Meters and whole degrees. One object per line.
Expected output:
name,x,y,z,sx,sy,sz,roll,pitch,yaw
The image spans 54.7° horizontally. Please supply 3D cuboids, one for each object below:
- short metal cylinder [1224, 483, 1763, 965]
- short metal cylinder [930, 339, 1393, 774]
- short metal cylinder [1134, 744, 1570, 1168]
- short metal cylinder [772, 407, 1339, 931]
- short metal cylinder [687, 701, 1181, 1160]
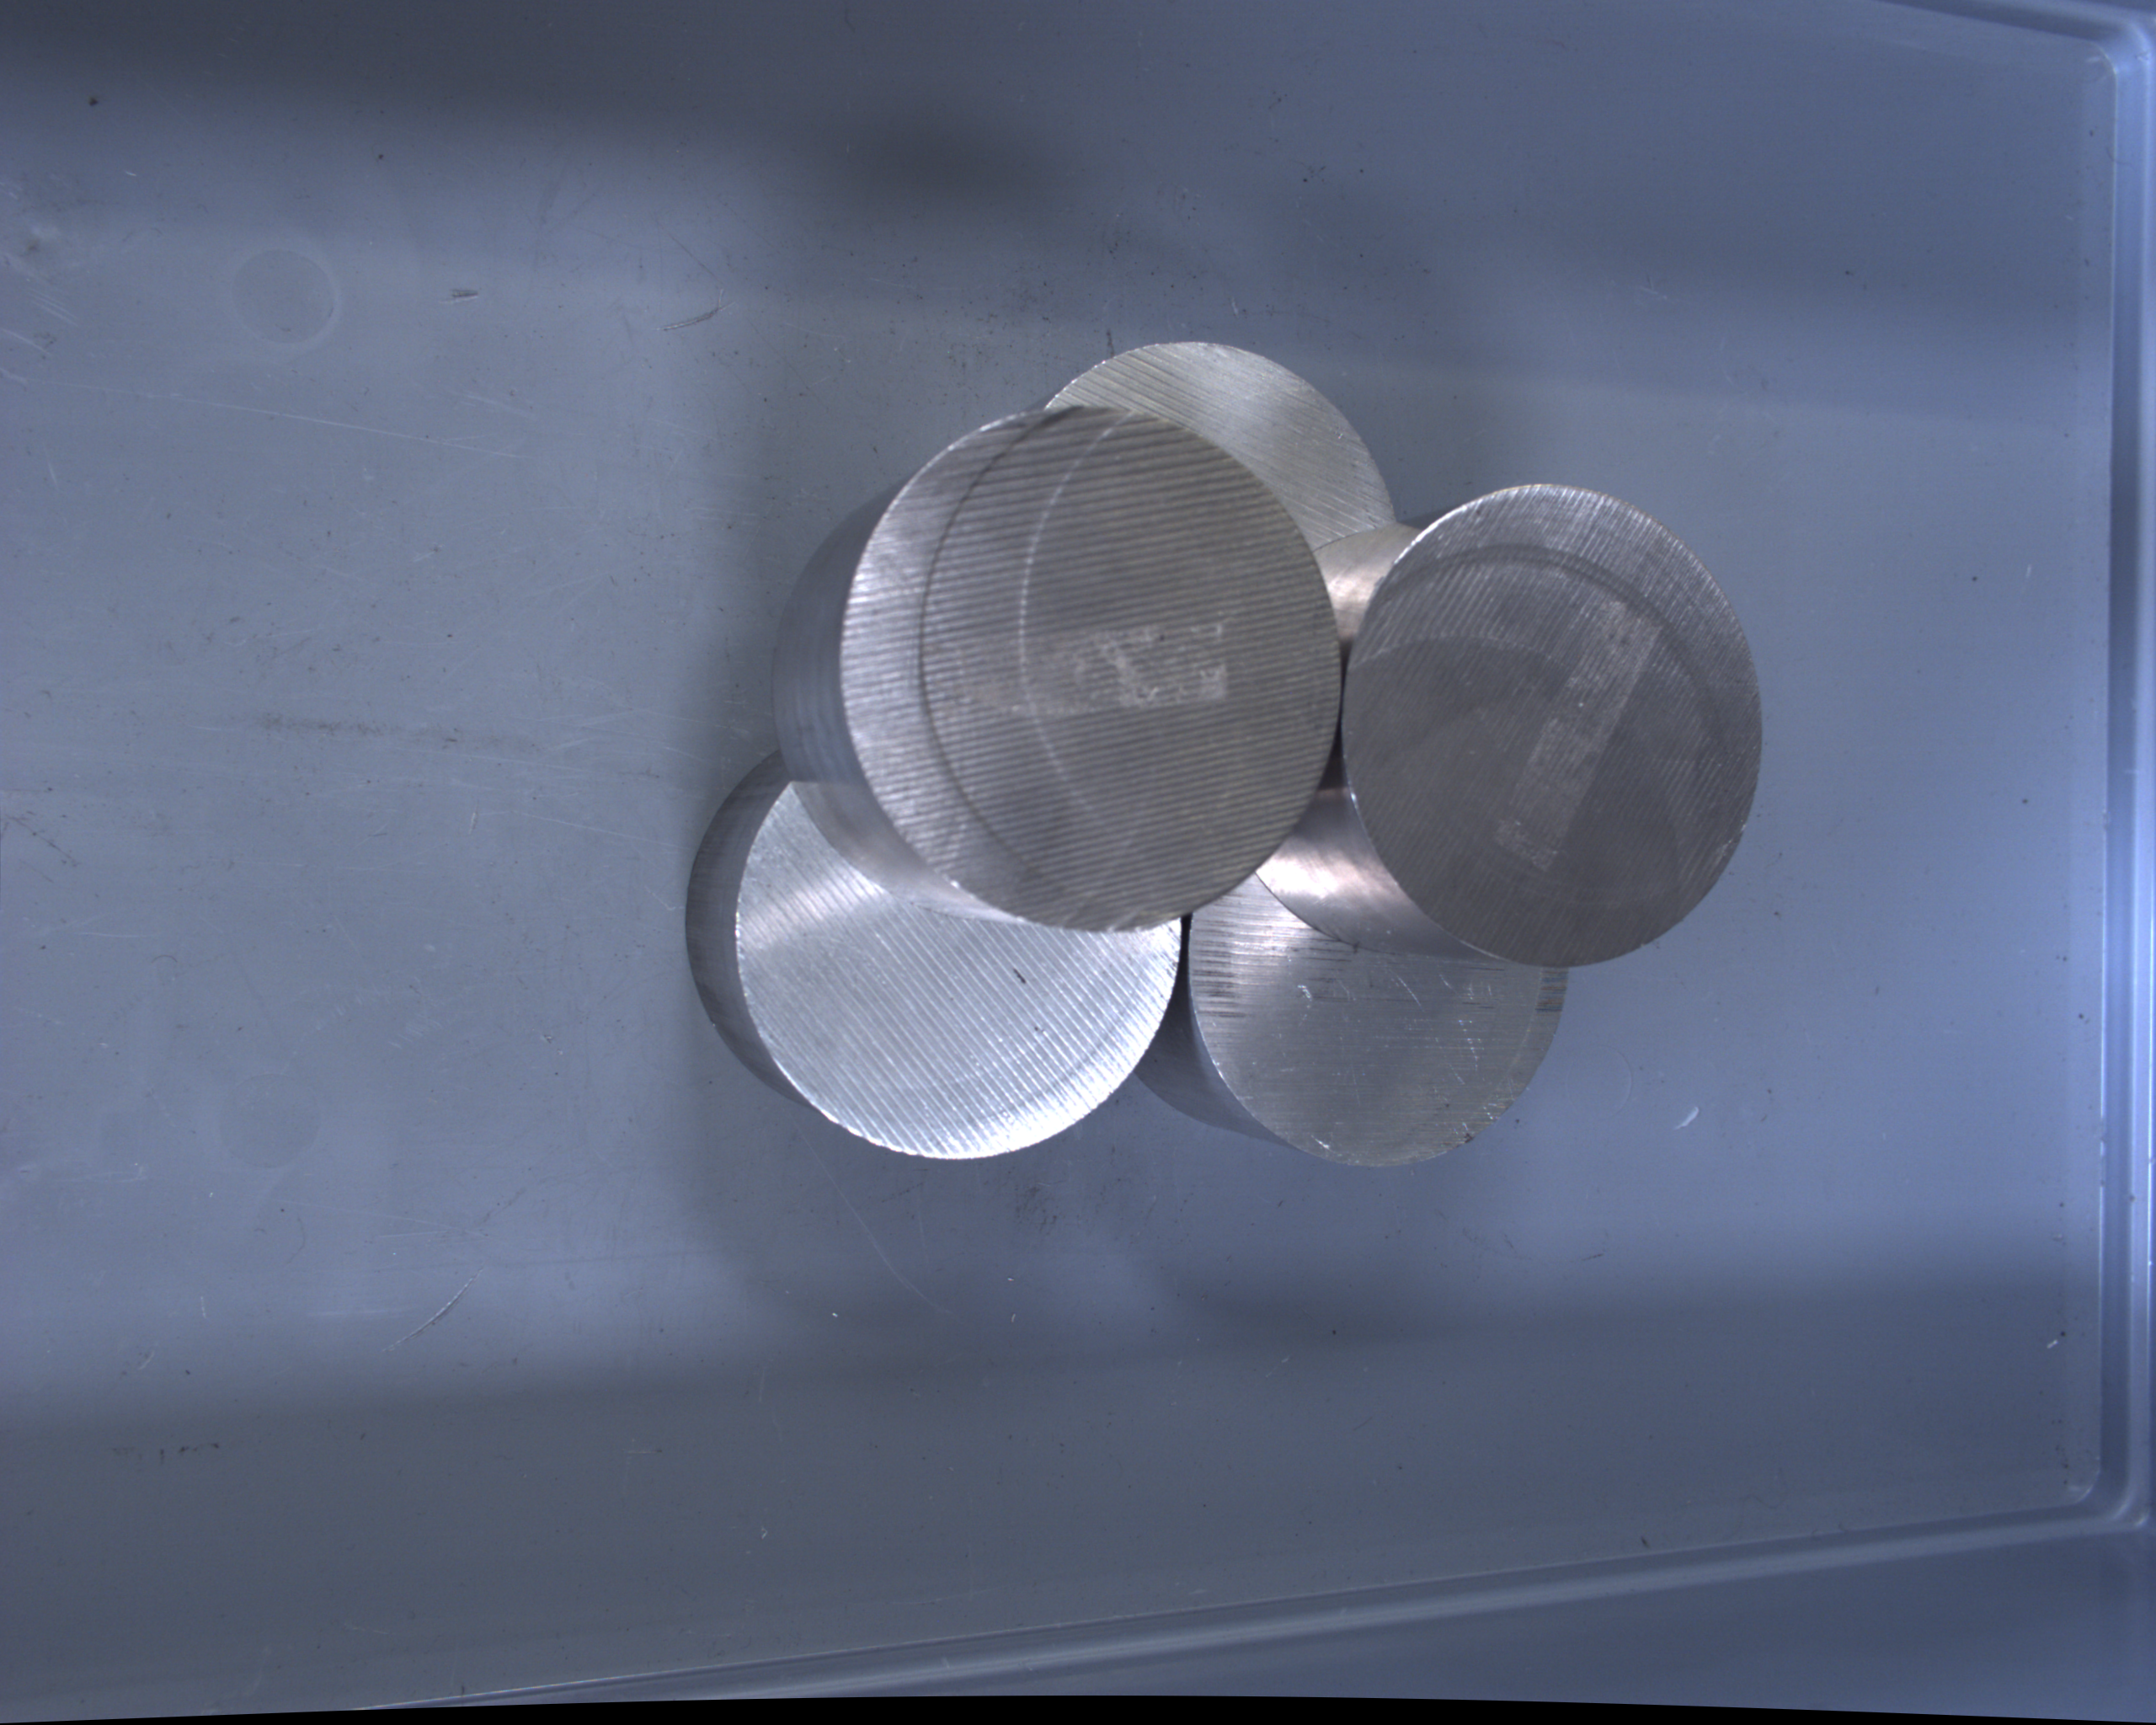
short metal cylinder,0.071,-0.023,0.367,0.081,0.050,0.080,0,90,-20
short metal cylinder,0.014,-0.055,0.401,0.081,0.050,0.080,0,90,-20
short metal cylinder,0.049,0.017,0.413,0.081,0.050,0.080,0,90,-20
short metal cylinder,-0.005,-0.030,0.340,0.081,0.050,0.080,0,90,-20
short metal cylinder,-0.028,0.012,0.385,0.081,0.050,0.080,0,90,-20
